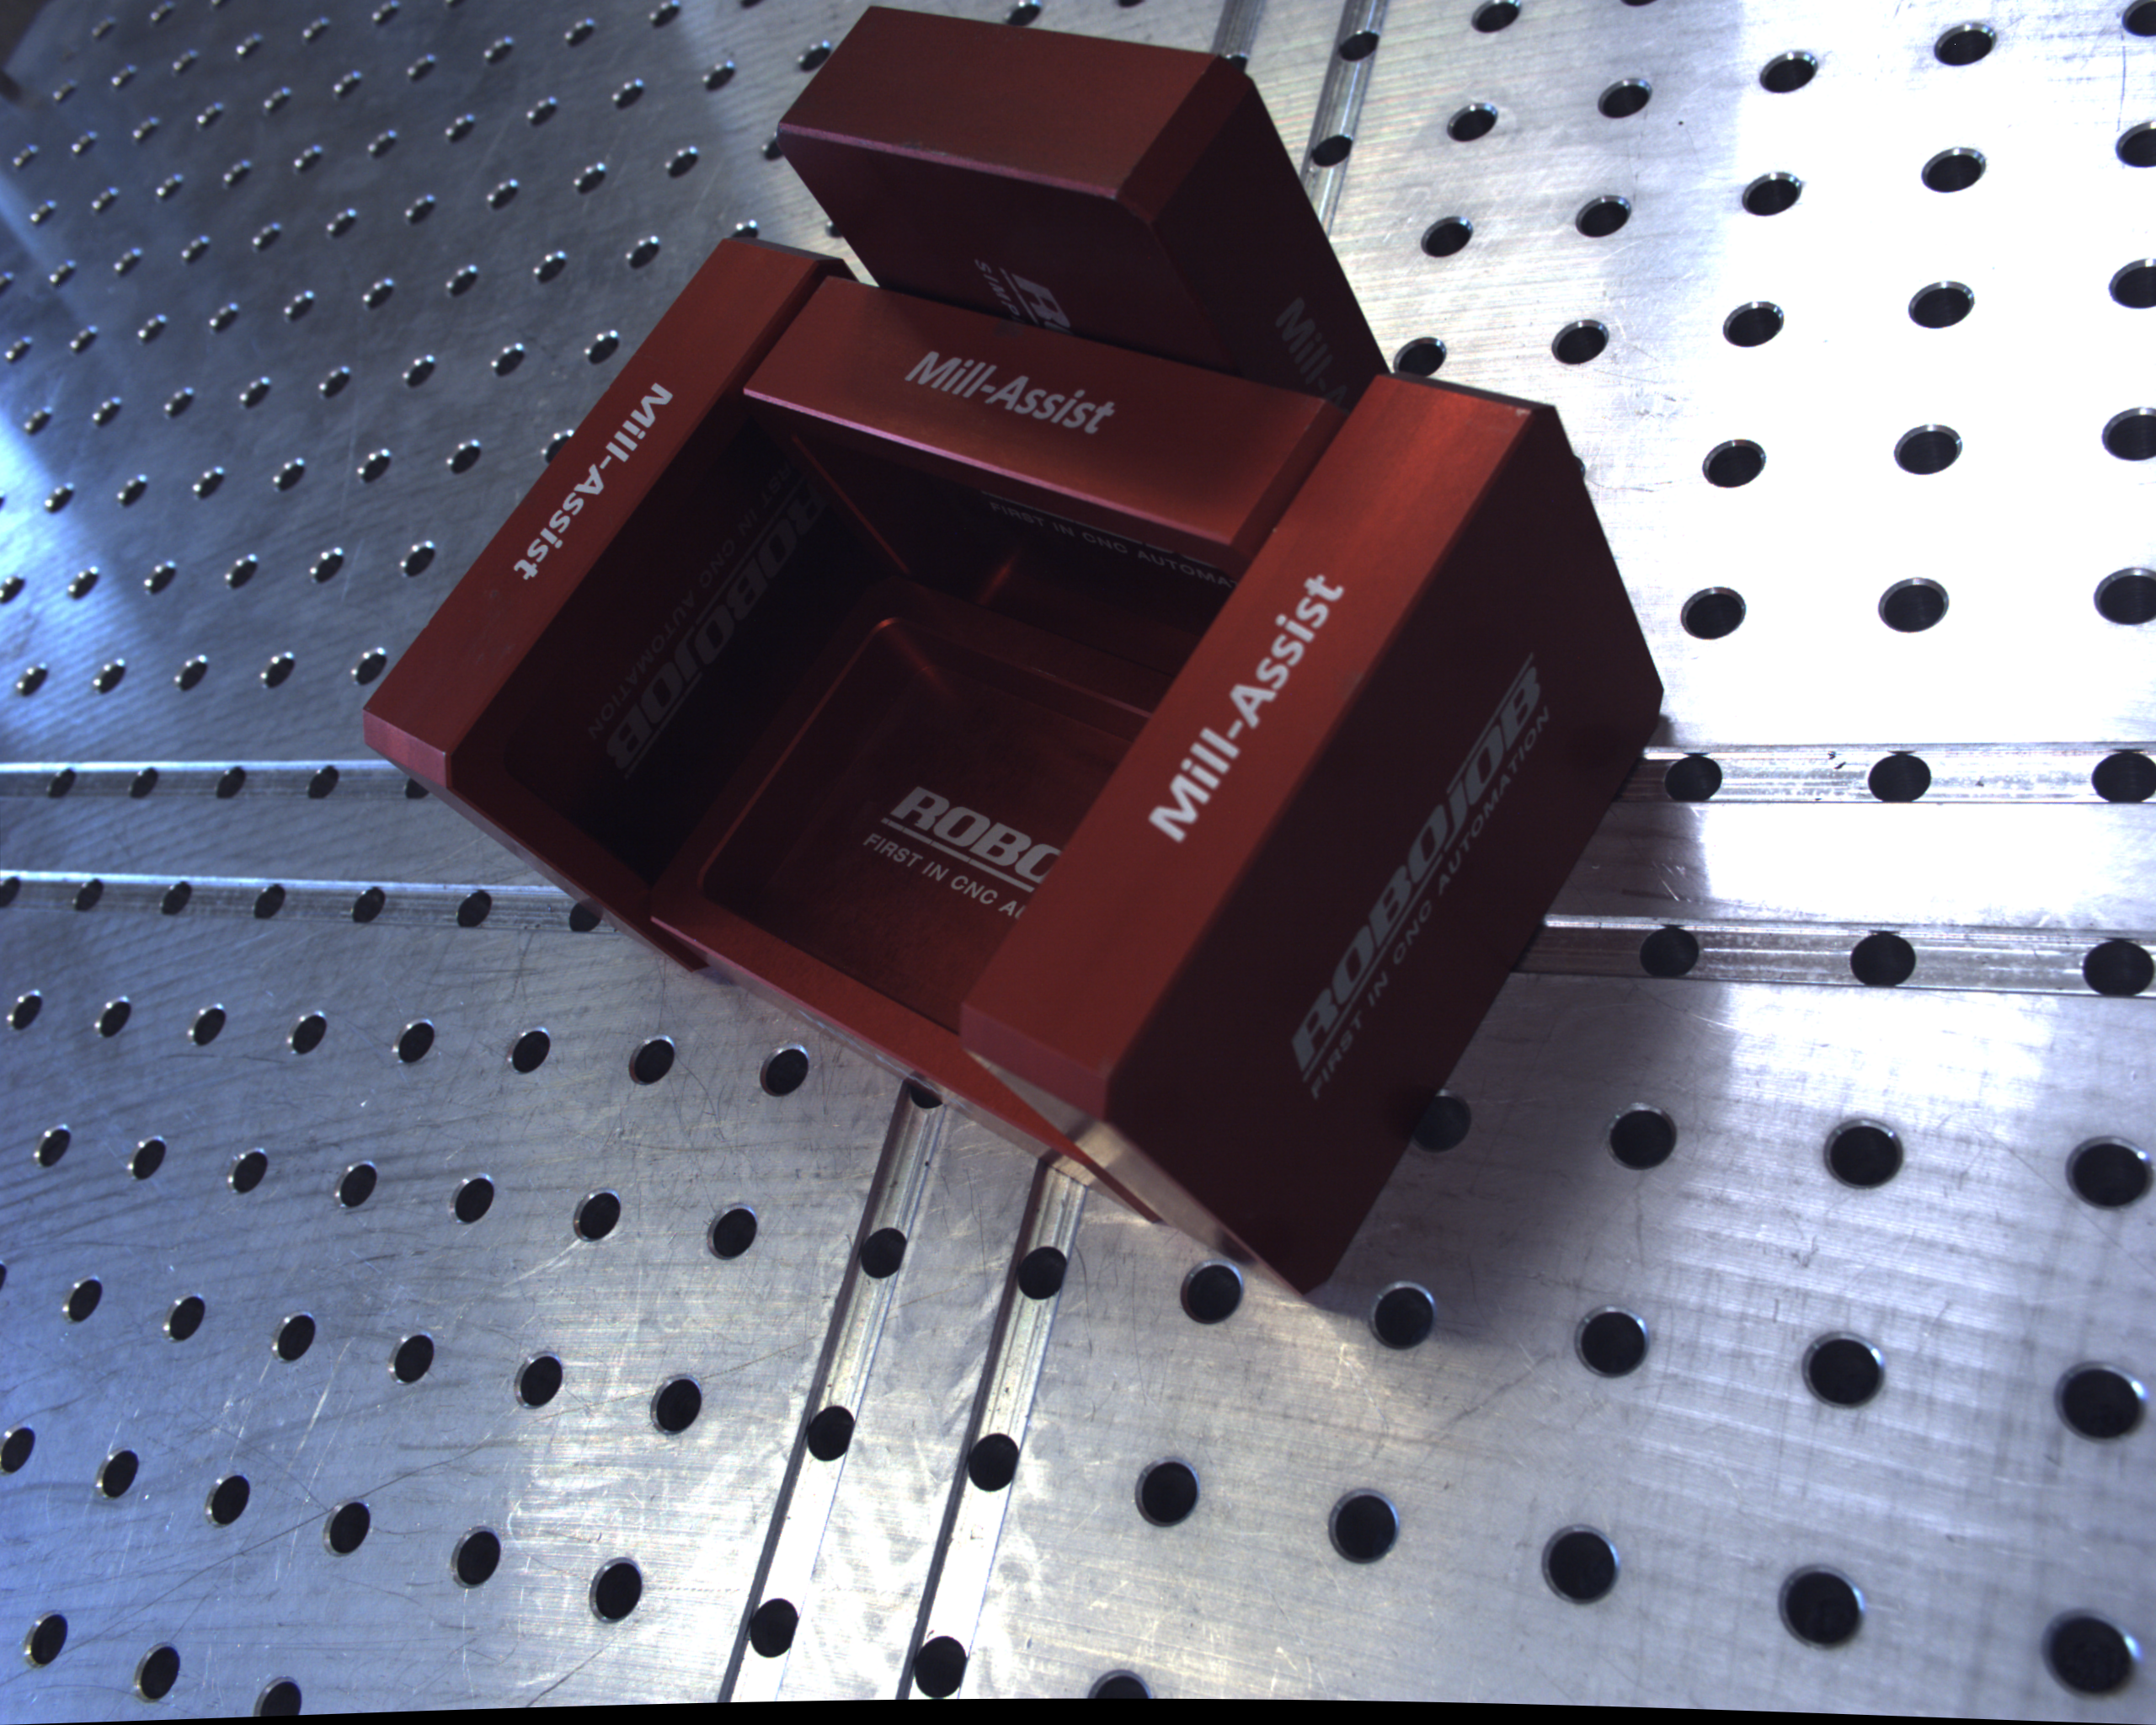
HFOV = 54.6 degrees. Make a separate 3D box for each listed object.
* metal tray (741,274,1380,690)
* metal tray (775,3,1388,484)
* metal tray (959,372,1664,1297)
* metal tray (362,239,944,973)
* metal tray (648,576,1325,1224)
[{"bbox_3d":[0.007,-0.062,0.401,0.130,0.090,0.030,24,76,36],"label":"metal tray"},{"bbox_3d":[0.012,-0.097,0.394,0.090,0.130,0.030,25,76,36],"label":"metal tray"},{"bbox_3d":[0.045,-0.003,0.344,0.030,0.090,0.130,24,75,36],"label":"metal tray"},{"bbox_3d":[-0.076,-0.053,0.439,0.030,0.090,0.130,24,75,36],"label":"metal tray"},{"bbox_3d":[-0.013,0.002,0.411,0.130,0.030,0.090,24,75,36],"label":"metal tray"}]
